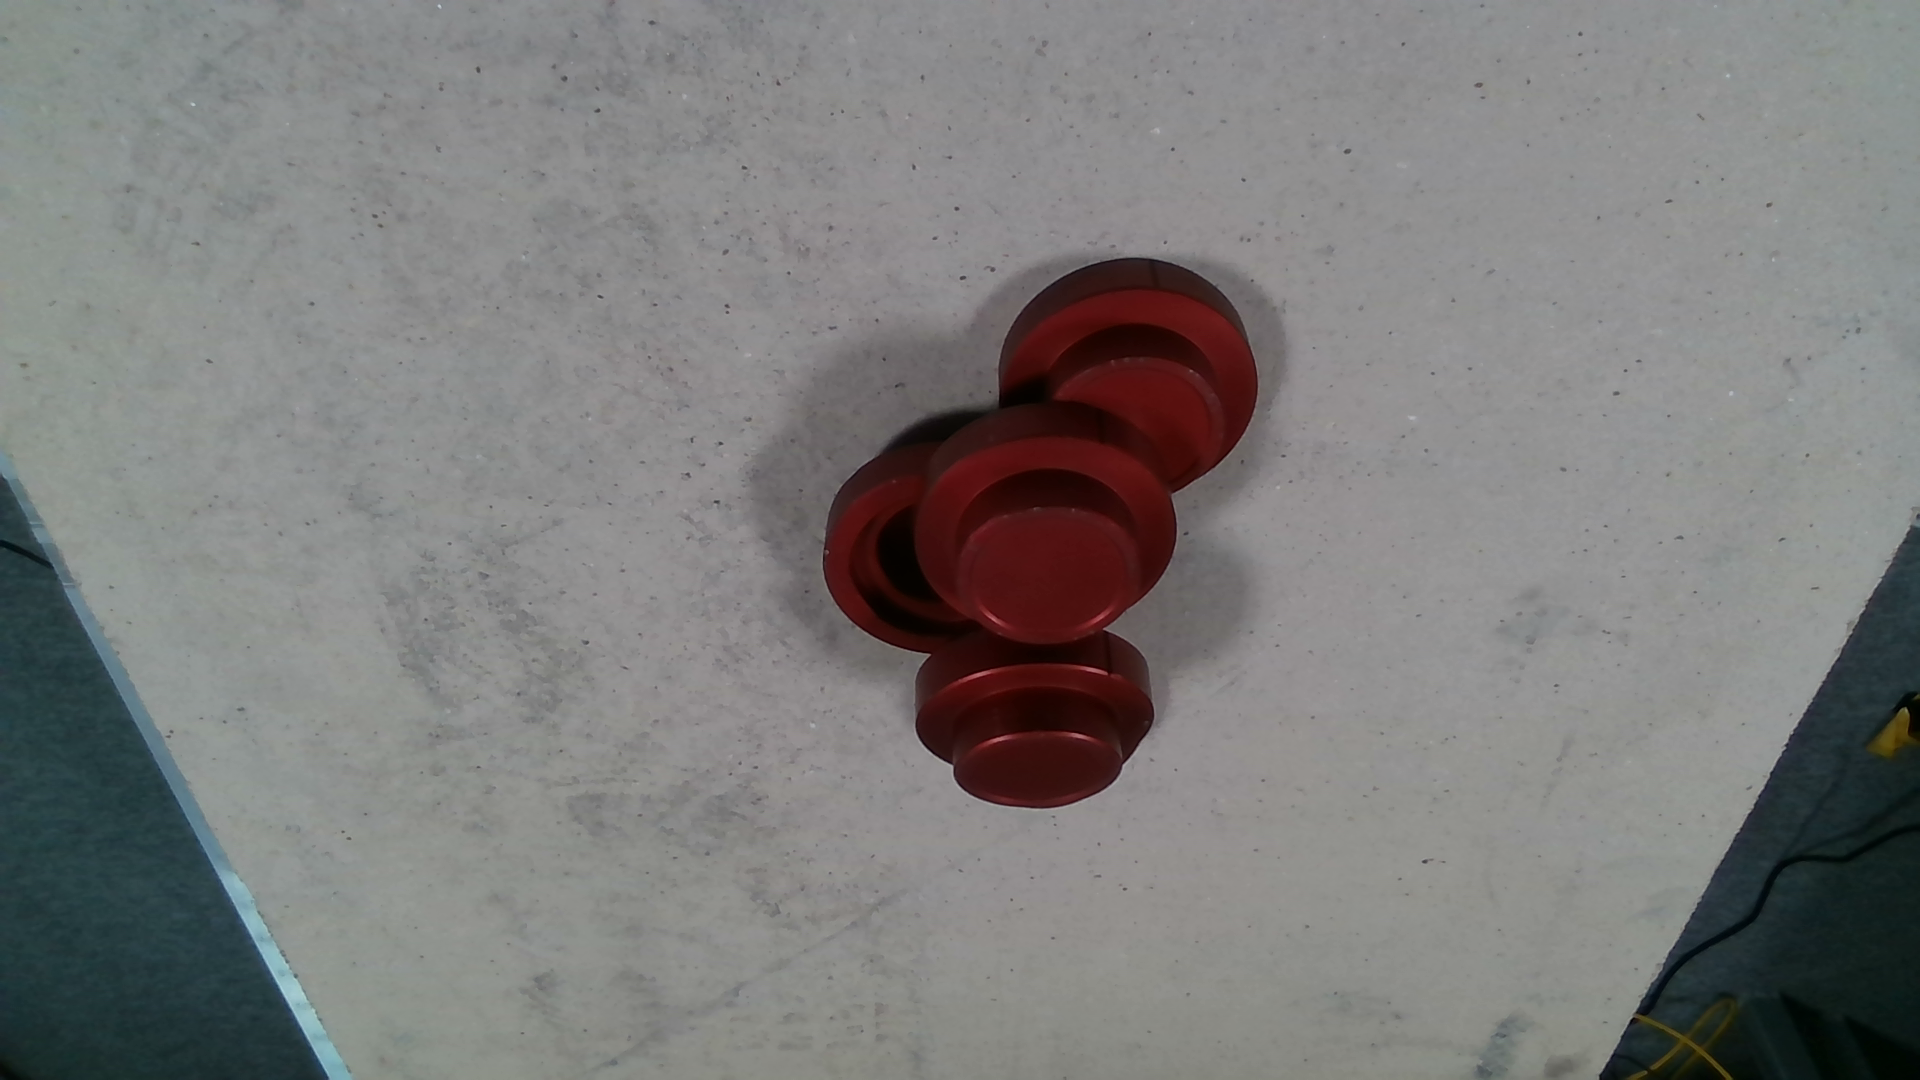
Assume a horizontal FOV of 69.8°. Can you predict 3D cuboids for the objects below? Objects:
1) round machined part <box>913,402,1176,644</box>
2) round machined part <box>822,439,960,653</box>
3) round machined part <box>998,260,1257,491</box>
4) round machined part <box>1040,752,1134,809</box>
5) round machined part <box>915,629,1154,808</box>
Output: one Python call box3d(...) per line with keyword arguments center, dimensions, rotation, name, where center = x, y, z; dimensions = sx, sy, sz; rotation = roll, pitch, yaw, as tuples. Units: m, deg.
box3d(center=(0.032, 0.001, 0.514), dimensions=(0.098, 0.042, 0.098), rotation=(0, 130, 0), name="round machined part")
box3d(center=(-0.006, -0.002, 0.566), dimensions=(0.098, 0.042, 0.098), rotation=(0, 130, 0), name="round machined part")
box3d(center=(0.064, -0.053, 0.523), dimensions=(0.098, 0.042, 0.098), rotation=(0, 130, 0), name="round machined part")
box3d(center=(0.037, 0.088, 0.641), dimensions=(0.098, 0.042, 0.098), rotation=(0, 130, 0), name="round machined part")
box3d(center=(0.030, 0.076, 0.564), dimensions=(0.098, 0.042, 0.098), rotation=(-1, 143, -1), name="round machined part")
